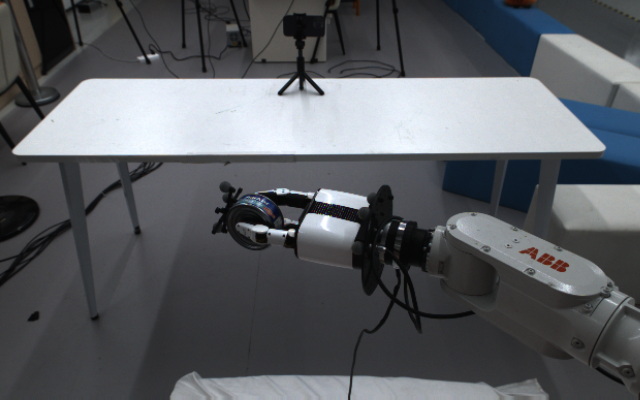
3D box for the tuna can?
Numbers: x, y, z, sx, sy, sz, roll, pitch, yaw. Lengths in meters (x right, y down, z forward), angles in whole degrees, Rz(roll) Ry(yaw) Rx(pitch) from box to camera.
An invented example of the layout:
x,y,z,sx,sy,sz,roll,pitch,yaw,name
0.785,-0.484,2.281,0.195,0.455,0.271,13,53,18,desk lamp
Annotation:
x,y,z,sx,sy,sz,roll,pitch,yaw,name
-0.098,0.037,0.742,0.085,0.085,0.034,12,31,14,tuna can
